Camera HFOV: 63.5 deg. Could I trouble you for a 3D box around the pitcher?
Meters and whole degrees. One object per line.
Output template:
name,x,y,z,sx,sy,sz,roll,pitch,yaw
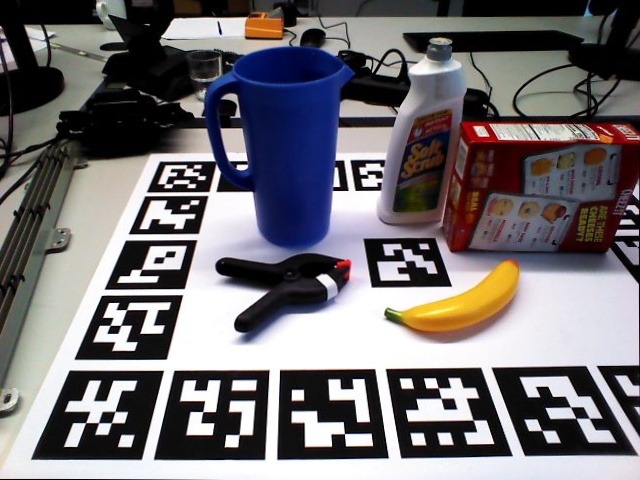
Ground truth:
pitcher,-0.043,-0.122,0.665,0.188,0.243,0.133,-10,37,-17

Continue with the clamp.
clamp,-0.031,0.056,0.634,0.165,0.037,0.121,-9,36,-15

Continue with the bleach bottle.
bleach bottle,0.144,-0.131,0.709,0.103,0.251,0.067,0,36,0

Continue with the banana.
banana,0.190,0.076,0.620,0.196,0.039,0.074,-22,42,-27

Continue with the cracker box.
cracker box,0.300,-0.065,0.666,0.214,0.165,0.071,0,34,2
